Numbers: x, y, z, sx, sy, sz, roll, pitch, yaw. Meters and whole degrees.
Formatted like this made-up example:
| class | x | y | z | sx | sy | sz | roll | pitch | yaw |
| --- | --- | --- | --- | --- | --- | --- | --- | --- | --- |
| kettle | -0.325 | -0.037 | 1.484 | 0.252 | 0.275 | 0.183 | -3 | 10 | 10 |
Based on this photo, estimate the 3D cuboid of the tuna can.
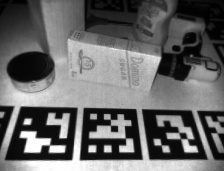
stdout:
| class | x | y | z | sx | sy | sz | roll | pitch | yaw |
| --- | --- | --- | --- | --- | --- | --- | --- | --- | --- |
| tuna can | -0.165 | -0.047 | 0.441 | 0.086 | 0.034 | 0.085 | 4 | 54 | -5 |

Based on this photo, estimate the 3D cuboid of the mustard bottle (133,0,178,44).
| class | x | y | z | sx | sy | sz | roll | pitch | yaw |
| --- | --- | --- | --- | --- | --- | --- | --- | --- | --- |
| mustard bottle | 0.103 | -0.188 | 0.496 | 0.059 | 0.192 | 0.095 | -32 | 63 | -25 |

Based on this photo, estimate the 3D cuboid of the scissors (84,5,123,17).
| class | x | y | z | sx | sy | sz | roll | pitch | yaw |
| --- | --- | --- | --- | --- | --- | --- | --- | --- | --- |
| scissors | -0.040 | -0.198 | 0.585 | 0.203 | 0.016 | 0.087 | 5 | 49 | -3 |

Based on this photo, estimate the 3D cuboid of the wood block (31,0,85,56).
| class | x | y | z | sx | sy | sz | roll | pitch | yaw |
| --- | --- | --- | --- | --- | --- | --- | --- | --- | --- |
| wood block | -0.116 | -0.175 | 0.452 | 0.091 | 0.207 | 0.089 | -21 | 59 | -20 |

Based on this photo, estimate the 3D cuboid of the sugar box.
| class | x | y | z | sx | sy | sz | roll | pitch | yaw |
| --- | --- | --- | --- | --- | --- | --- | --- | --- | --- |
| sugar box | 0.002 | -0.058 | 0.440 | 0.176 | 0.093 | 0.045 | 14 | 49 | 2 |

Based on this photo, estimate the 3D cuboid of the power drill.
| class | x | y | z | sx | sy | sz | roll | pitch | yaw |
| --- | --- | --- | --- | --- | --- | --- | --- | --- | --- |
| power drill | 0.145 | -0.109 | 0.516 | 0.184 | 0.057 | 0.187 | 14 | 60 | 4 |
